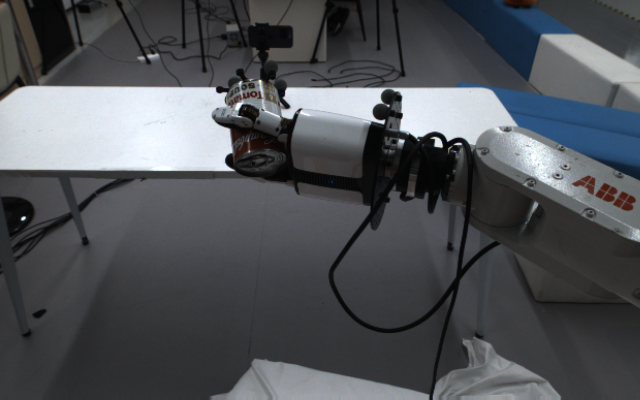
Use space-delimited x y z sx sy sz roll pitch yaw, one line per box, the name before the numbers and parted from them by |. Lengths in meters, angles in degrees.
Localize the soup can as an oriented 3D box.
soup can | -0.077 -0.087 0.596 0.067 0.067 0.101 -6 67 -12
